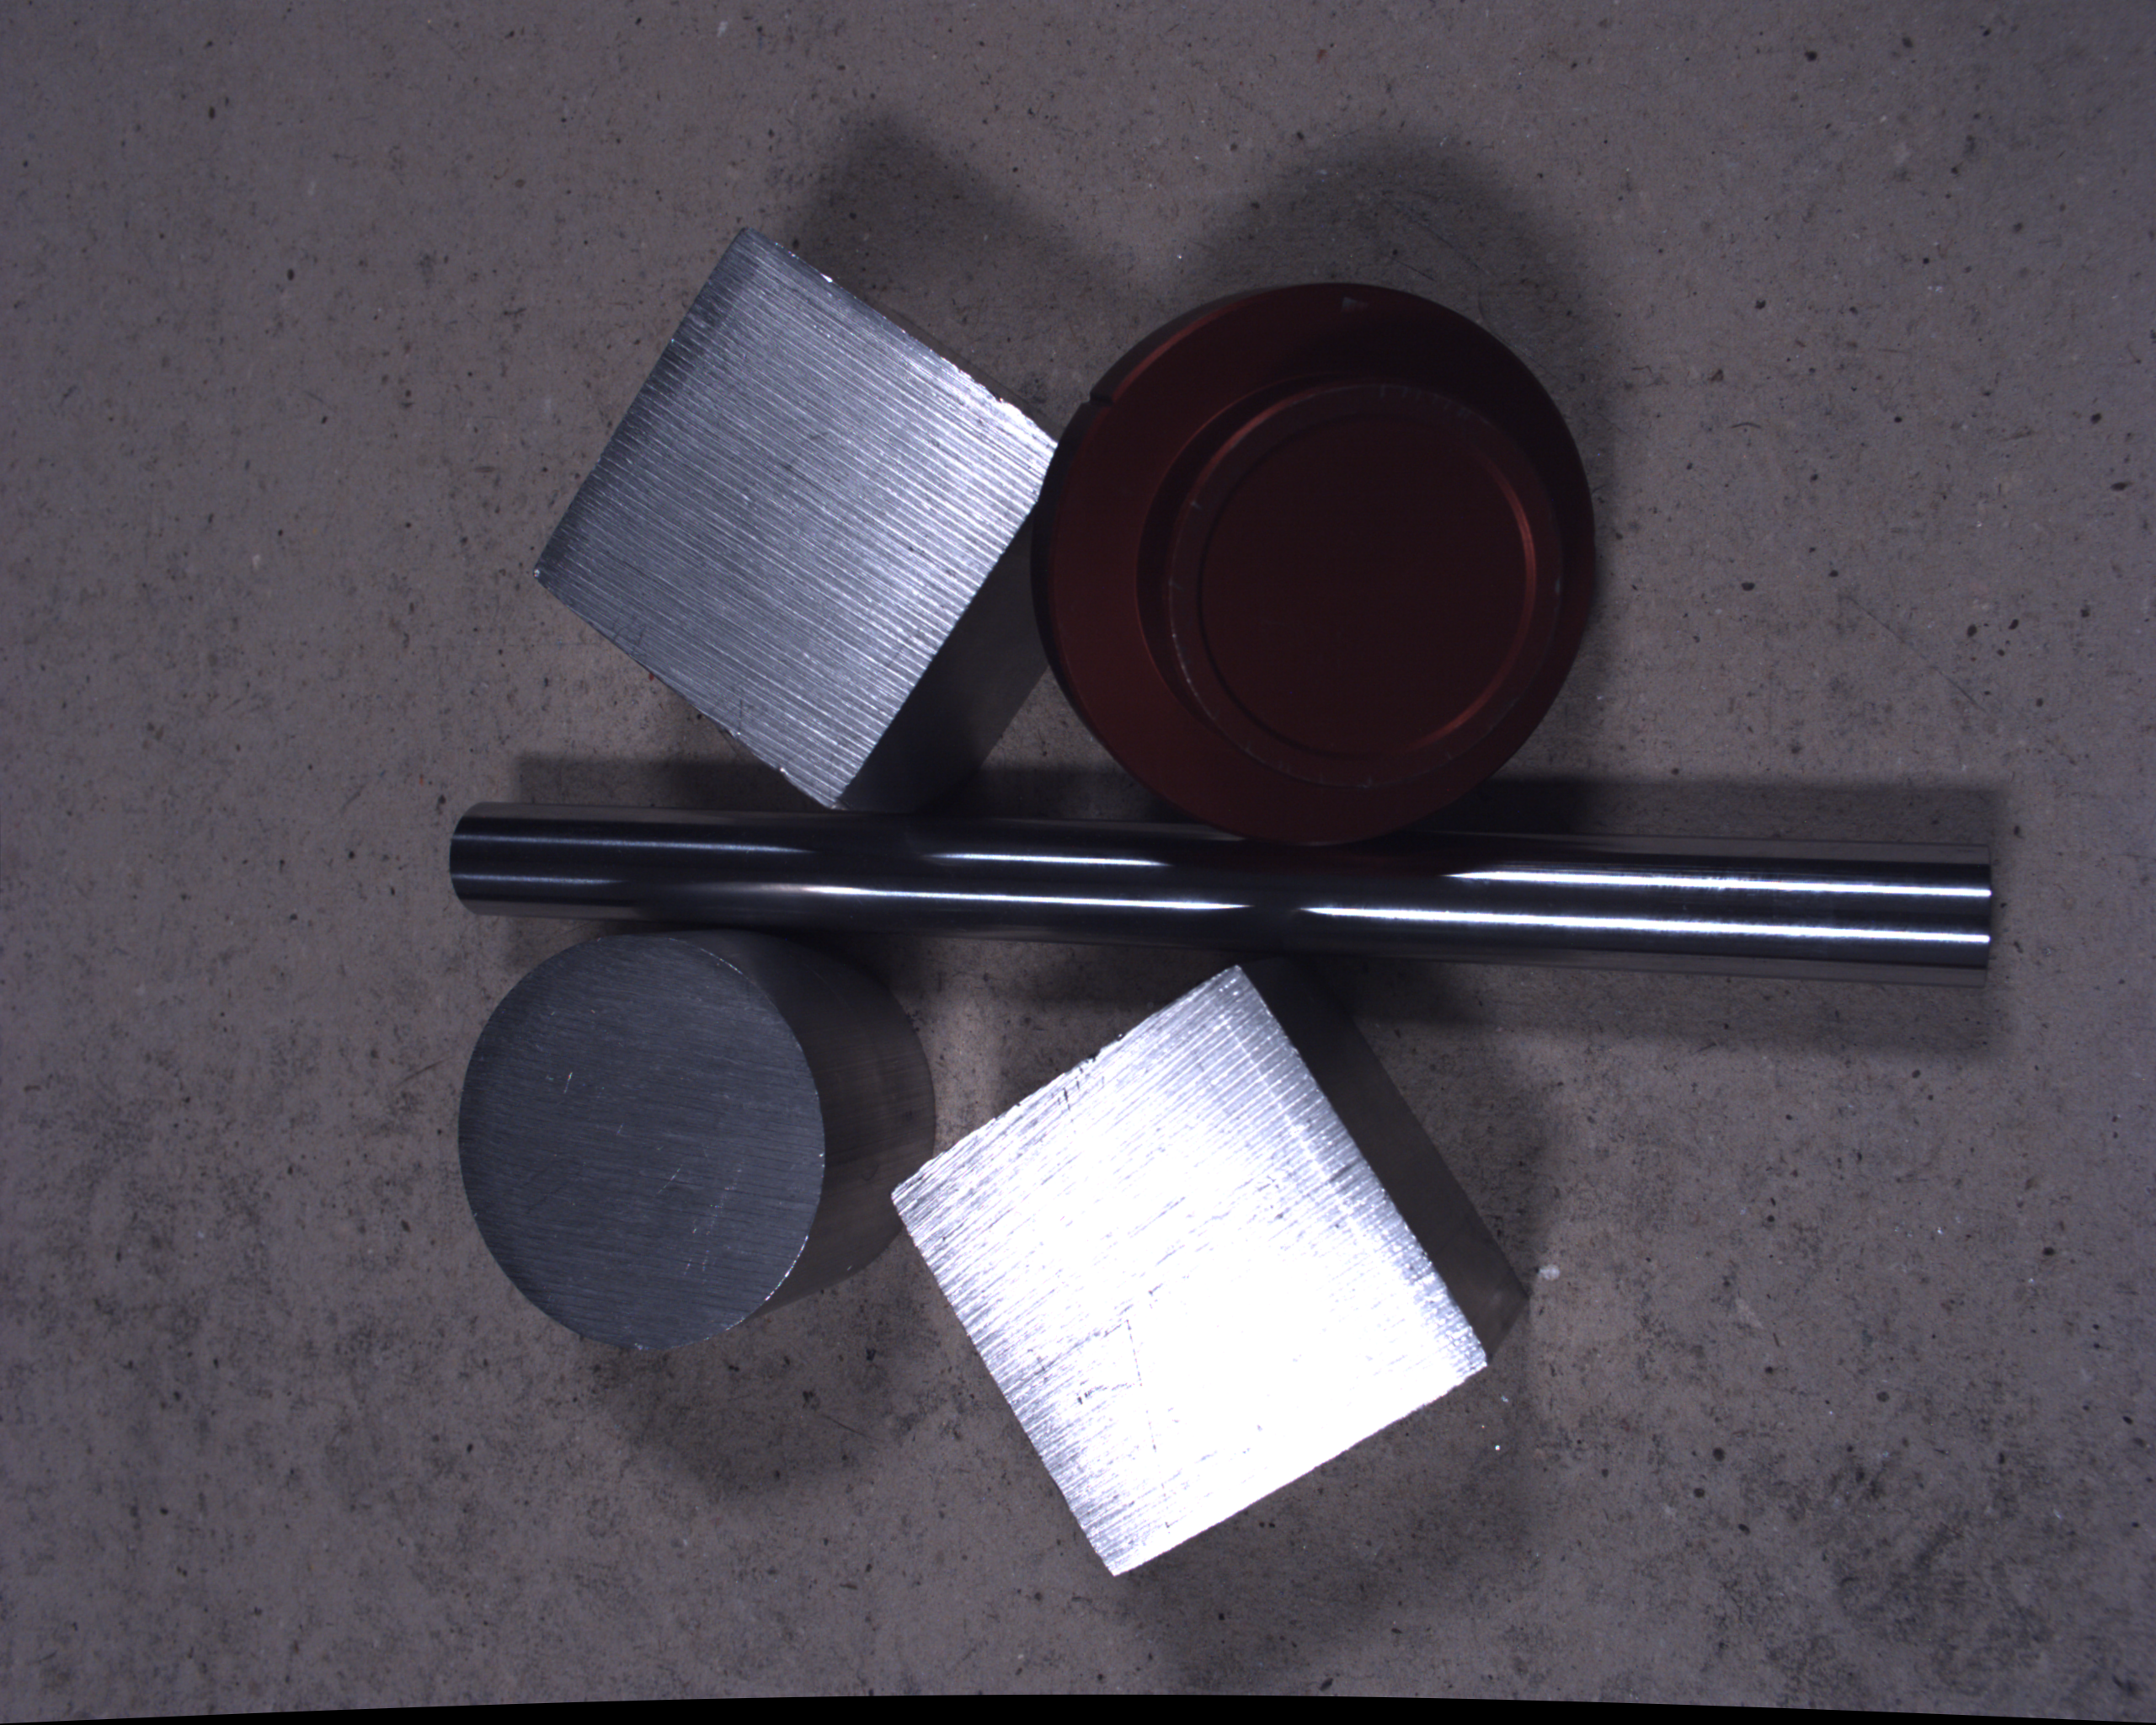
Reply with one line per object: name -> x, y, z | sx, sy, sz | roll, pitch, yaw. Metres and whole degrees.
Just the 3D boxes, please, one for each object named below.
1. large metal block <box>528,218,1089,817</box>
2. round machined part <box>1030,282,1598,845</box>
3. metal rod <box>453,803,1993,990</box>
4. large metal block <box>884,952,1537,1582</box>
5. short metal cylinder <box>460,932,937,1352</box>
large metal block -> -0.045, -0.065, 0.409 | 0.080, 0.050, 0.080 | 38, 102, 15
round machined part -> 0.043, -0.050, 0.360 | 0.099, 0.042, 0.097 | -2, 105, -8
metal rod -> 0.013, 0.004, 0.406 | 0.301, 0.025, 0.025 | 2, 91, 19
large metal block -> 0.025, 0.072, 0.387 | 0.080, 0.050, 0.080 | -35, 79, 16
short metal cylinder -> -0.076, 0.054, 0.422 | 0.080, 0.050, 0.079 | 0, 90, 19
